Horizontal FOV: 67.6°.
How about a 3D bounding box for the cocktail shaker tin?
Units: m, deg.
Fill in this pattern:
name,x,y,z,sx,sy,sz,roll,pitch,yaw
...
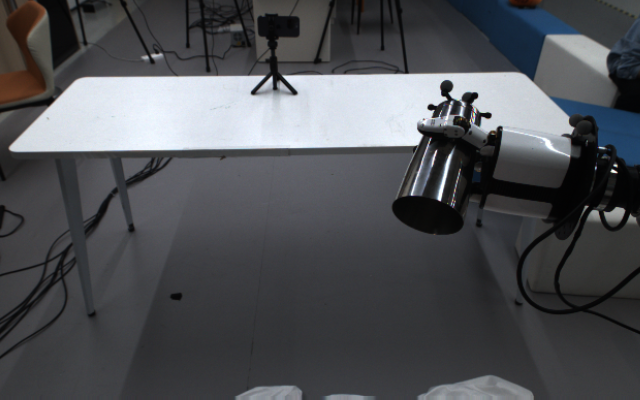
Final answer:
name,x,y,z,sx,sy,sz,roll,pitch,yaw
cocktail shaker tin,0.165,-0.050,0.644,0.093,0.093,0.170,15,63,17
